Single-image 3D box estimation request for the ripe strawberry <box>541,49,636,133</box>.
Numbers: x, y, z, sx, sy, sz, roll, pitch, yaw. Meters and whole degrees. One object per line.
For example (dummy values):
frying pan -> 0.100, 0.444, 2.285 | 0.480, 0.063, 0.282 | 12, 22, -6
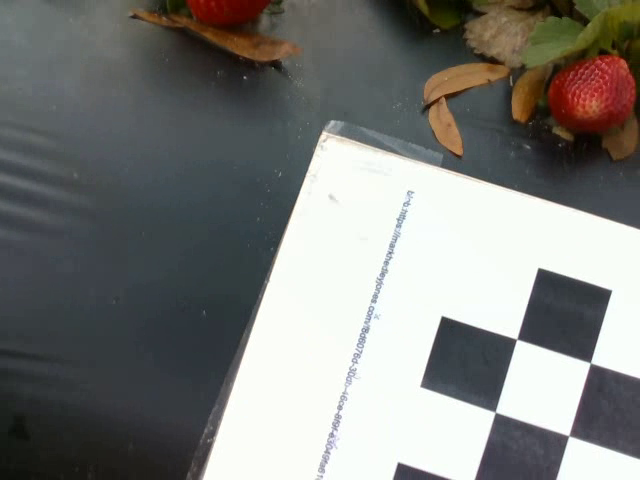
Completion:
ripe strawberry -> 0.110, -0.056, 0.237 | 0.040, 0.037, 0.042 | 30, 36, 4
